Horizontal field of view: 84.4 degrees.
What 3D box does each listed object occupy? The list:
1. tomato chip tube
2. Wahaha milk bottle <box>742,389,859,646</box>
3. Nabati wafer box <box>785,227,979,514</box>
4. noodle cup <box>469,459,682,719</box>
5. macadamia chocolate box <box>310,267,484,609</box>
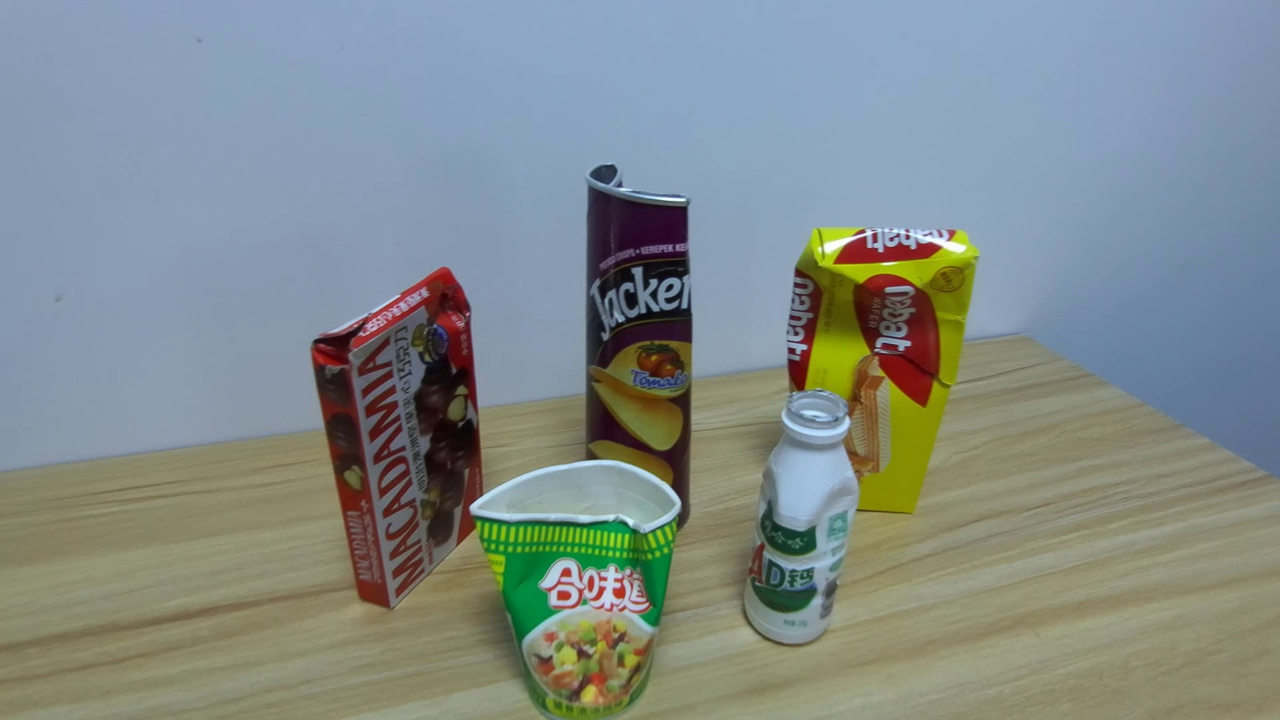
[{"bbox_3d":[0.000,0.001,0.456,0.076,0.235,0.078,7,27,14],"label":"tomato chip tube"},{"bbox_3d":[0.087,0.087,0.388,0.055,0.149,0.055,0,29,0],"label":"Wahaha milk bottle"},{"bbox_3d":[0.151,0.010,0.476,0.107,0.204,0.042,3,30,5],"label":"Nabati wafer box"},{"bbox_3d":[-0.026,0.120,0.365,0.082,0.122,0.075,10,21,35],"label":"noodle cup"},{"bbox_3d":[-0.133,0.047,0.419,0.027,0.187,0.103,16,31,20],"label":"macadamia chocolate box"}]
